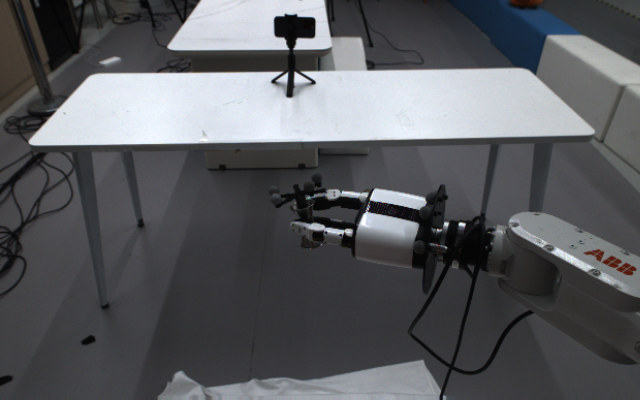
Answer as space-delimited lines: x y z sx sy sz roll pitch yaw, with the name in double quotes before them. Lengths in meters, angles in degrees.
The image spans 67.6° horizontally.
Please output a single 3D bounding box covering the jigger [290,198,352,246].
"jigger" -0.018 0.036 0.753 0.043 0.071 0.043 -14 22 6
